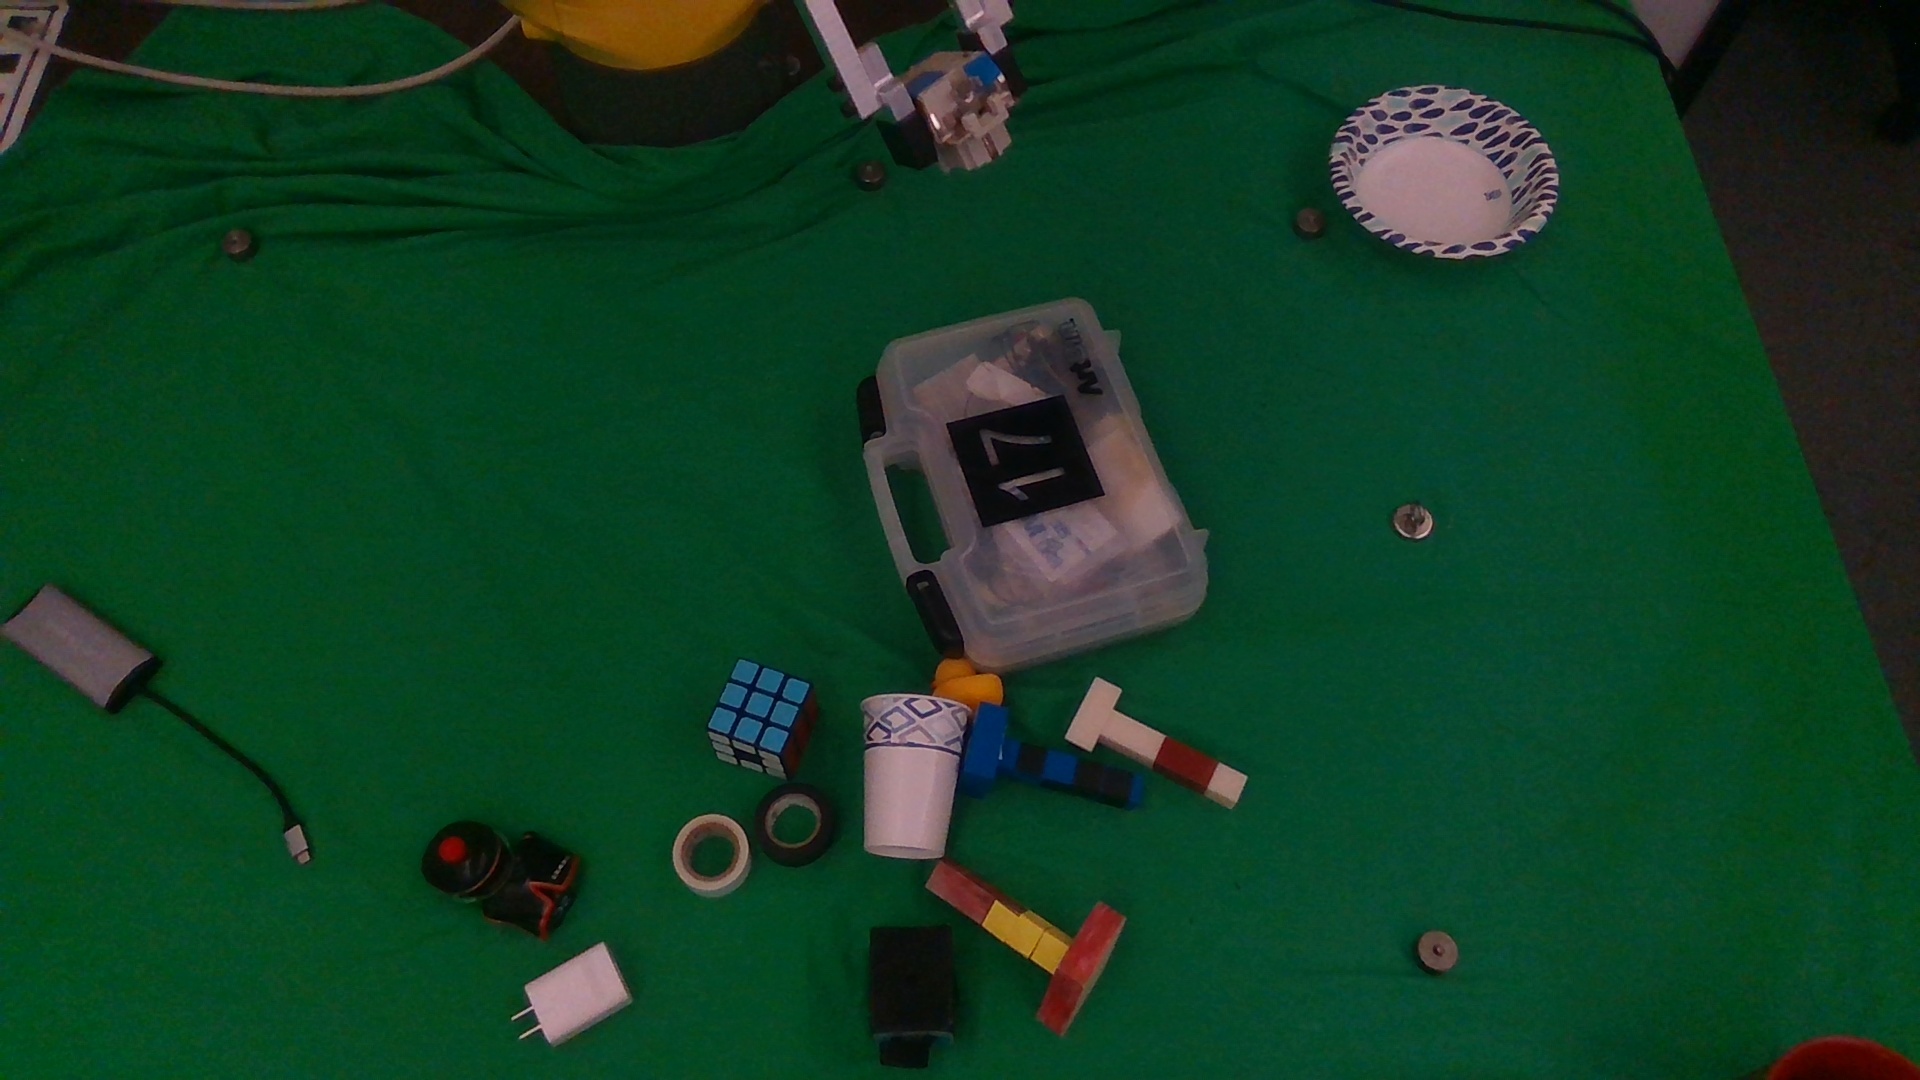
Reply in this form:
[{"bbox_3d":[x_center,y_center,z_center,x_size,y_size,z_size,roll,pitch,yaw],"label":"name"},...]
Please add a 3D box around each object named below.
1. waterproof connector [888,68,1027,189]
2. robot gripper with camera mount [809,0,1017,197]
[{"bbox_3d":[-0.002,-0.157,0.530,0.035,0.037,0.065,-31,29,-11],"label":"waterproof connector"},{"bbox_3d":[-0.073,-0.221,0.549,0.119,0.158,0.194,-35,31,-21],"label":"robot gripper with camera mount"}]
